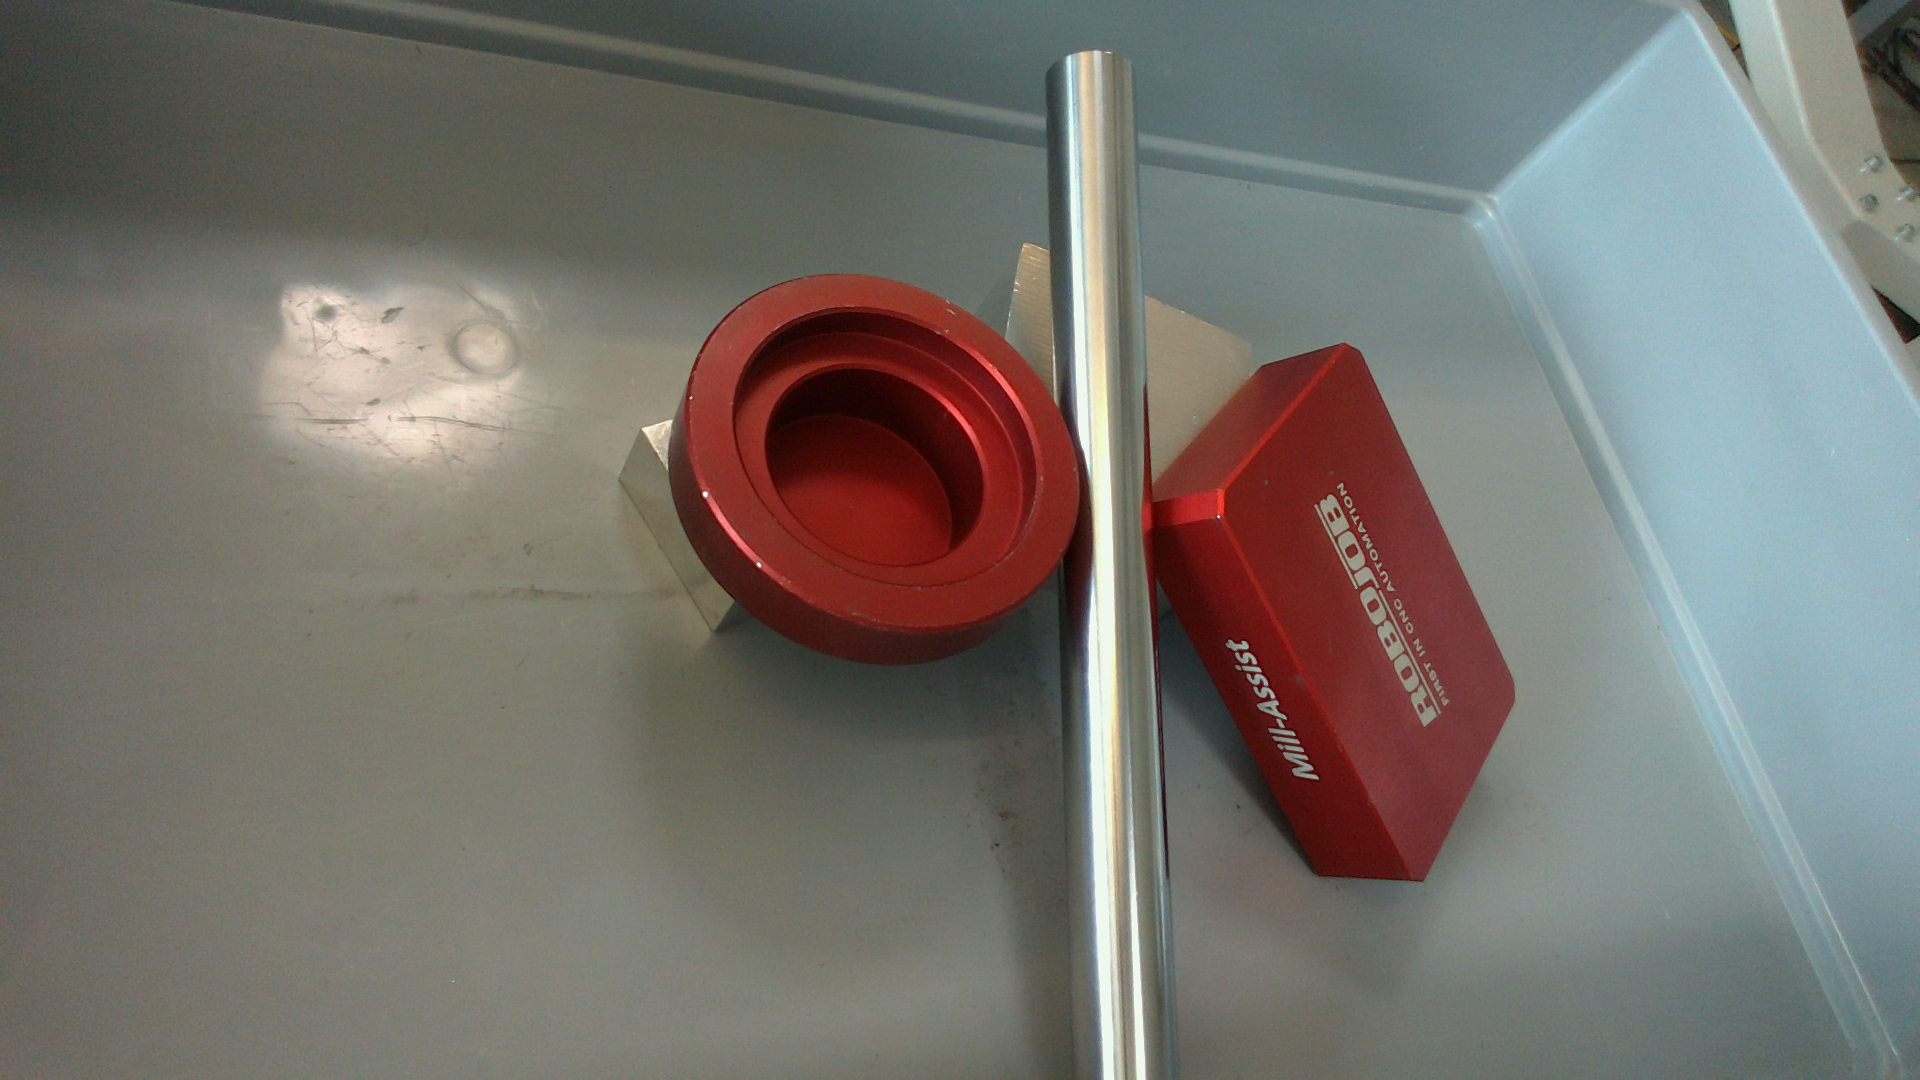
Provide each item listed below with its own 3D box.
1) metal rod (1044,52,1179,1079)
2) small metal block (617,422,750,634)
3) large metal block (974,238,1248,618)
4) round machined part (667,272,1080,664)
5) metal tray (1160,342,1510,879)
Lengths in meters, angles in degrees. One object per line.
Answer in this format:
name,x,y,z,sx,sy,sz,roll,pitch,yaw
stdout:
metal rod,0.037,0.017,0.347,0.025,0.025,0.300,6,75,-25
small metal block,-0.054,-0.010,0.366,0.050,0.025,0.050,-24,75,-37
large metal block,0.037,-0.031,0.412,0.080,0.050,0.080,21,54,-16
round machined part,-0.023,-0.014,0.338,0.098,0.042,0.098,12,58,-19
metal tray,0.109,0.021,0.399,0.090,0.030,0.130,-45,112,-39
